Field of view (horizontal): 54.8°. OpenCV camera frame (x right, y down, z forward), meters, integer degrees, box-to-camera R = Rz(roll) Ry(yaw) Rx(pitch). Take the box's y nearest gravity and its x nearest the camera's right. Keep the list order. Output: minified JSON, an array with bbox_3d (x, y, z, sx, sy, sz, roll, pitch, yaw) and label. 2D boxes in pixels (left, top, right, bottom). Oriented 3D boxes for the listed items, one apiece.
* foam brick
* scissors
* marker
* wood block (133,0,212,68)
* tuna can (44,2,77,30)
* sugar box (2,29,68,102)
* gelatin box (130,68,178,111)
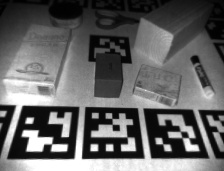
[{"bbox_3d":[-0.011,-0.011,0.444,0.053,0.051,0.077,2,53,-4],"label":"foam brick"},{"bbox_3d":[0.036,-0.178,0.606,0.203,0.016,0.087,6,52,0],"label":"scissors"},{"bbox_3d":[0.198,-0.021,0.502,0.020,0.020,0.120,3,55,-5],"label":"marker"},{"bbox_3d":[0.158,-0.147,0.555,0.089,0.091,0.207,37,56,21],"label":"wood block"},{"bbox_3d":[-0.135,-0.182,0.571,0.086,0.034,0.085,4,53,-4],"label":"tuna can"},{"bbox_3d":[-0.155,-0.049,0.465,0.093,0.045,0.175,6,52,-4],"label":"sugar box"},{"bbox_3d":[0.091,0.007,0.462,0.089,0.030,0.073,16,53,5],"label":"gelatin box"}]
